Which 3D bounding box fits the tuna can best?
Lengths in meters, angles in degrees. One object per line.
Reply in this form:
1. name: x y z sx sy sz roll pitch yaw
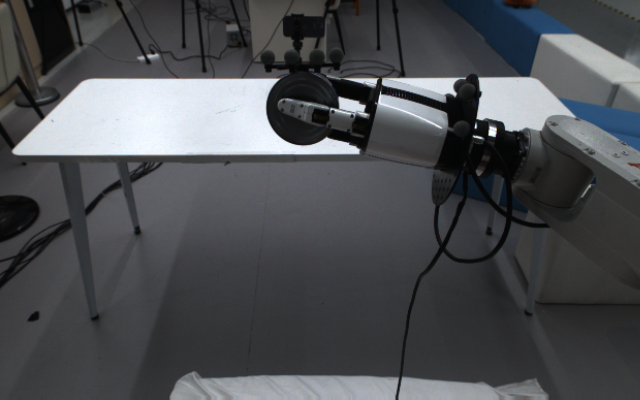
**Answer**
1. tuna can: -0.017 -0.106 0.576 0.085 0.085 0.034 4 18 3
